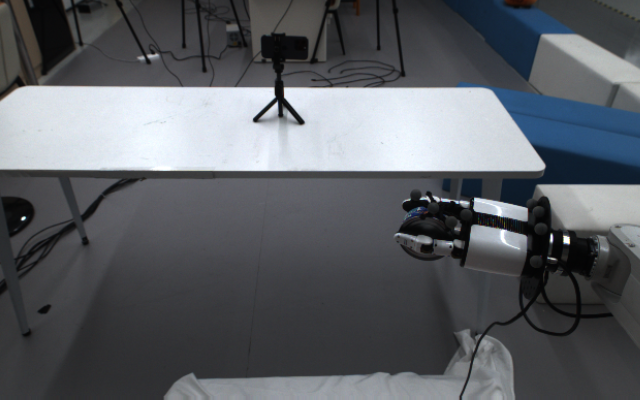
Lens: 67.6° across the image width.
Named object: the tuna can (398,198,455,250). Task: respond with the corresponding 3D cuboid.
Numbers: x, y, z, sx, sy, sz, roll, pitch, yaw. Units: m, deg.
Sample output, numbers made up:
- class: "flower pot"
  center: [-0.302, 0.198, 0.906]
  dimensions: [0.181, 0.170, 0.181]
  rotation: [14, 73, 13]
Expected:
- class: "tuna can"
  center: [0.171, 0.050, 0.767]
  dimensions: [0.085, 0.085, 0.034]
  rotation: [12, 33, 14]
